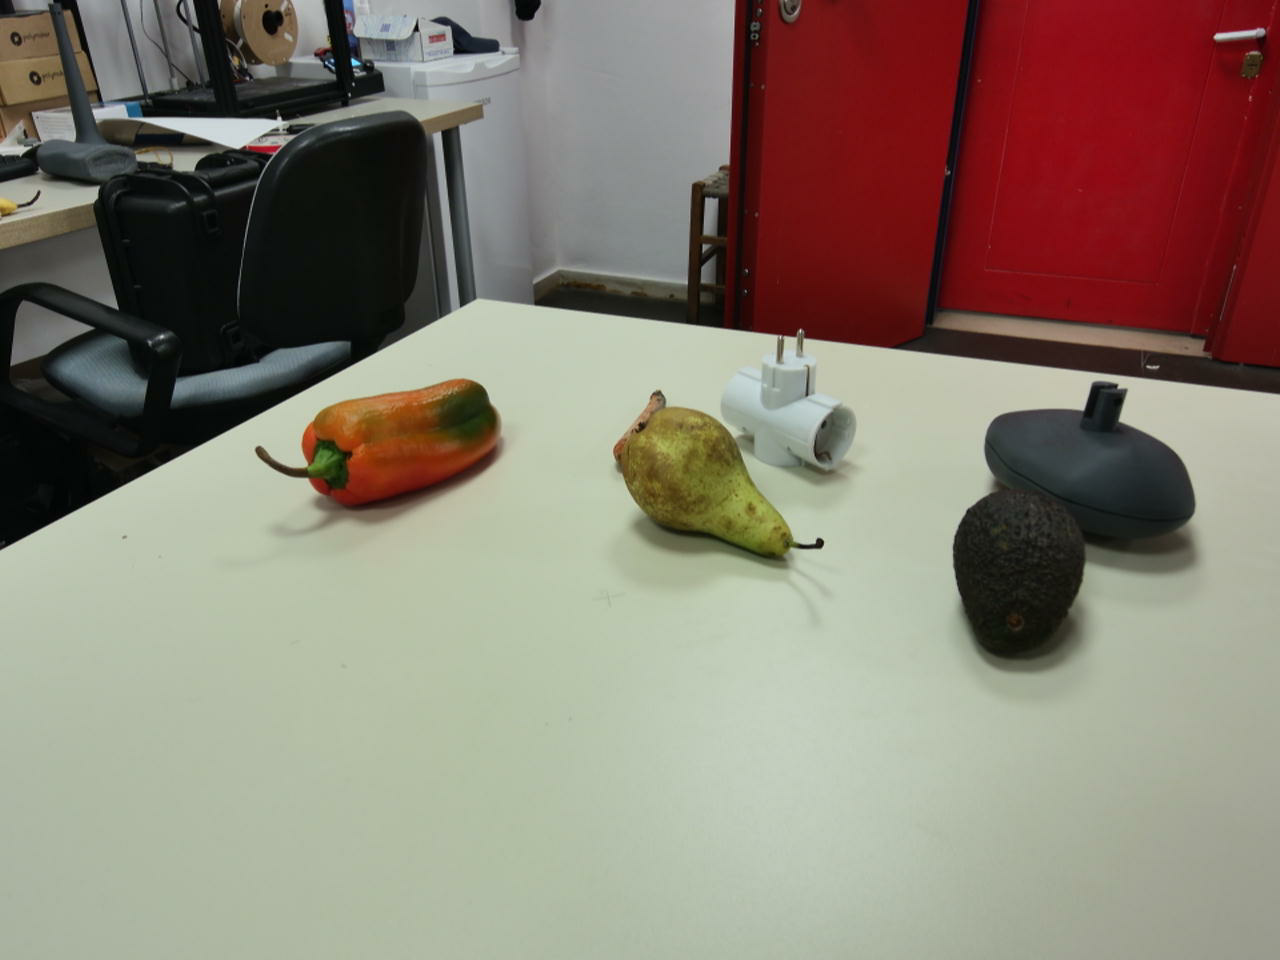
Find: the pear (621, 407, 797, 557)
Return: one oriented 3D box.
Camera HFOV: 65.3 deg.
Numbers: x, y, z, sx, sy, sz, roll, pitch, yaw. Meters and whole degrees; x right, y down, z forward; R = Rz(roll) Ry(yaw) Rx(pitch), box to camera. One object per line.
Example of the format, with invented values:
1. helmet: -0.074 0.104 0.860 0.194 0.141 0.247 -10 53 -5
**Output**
1. pear: 0.055 0.001 0.599 0.144 0.075 0.071 15 30 28
